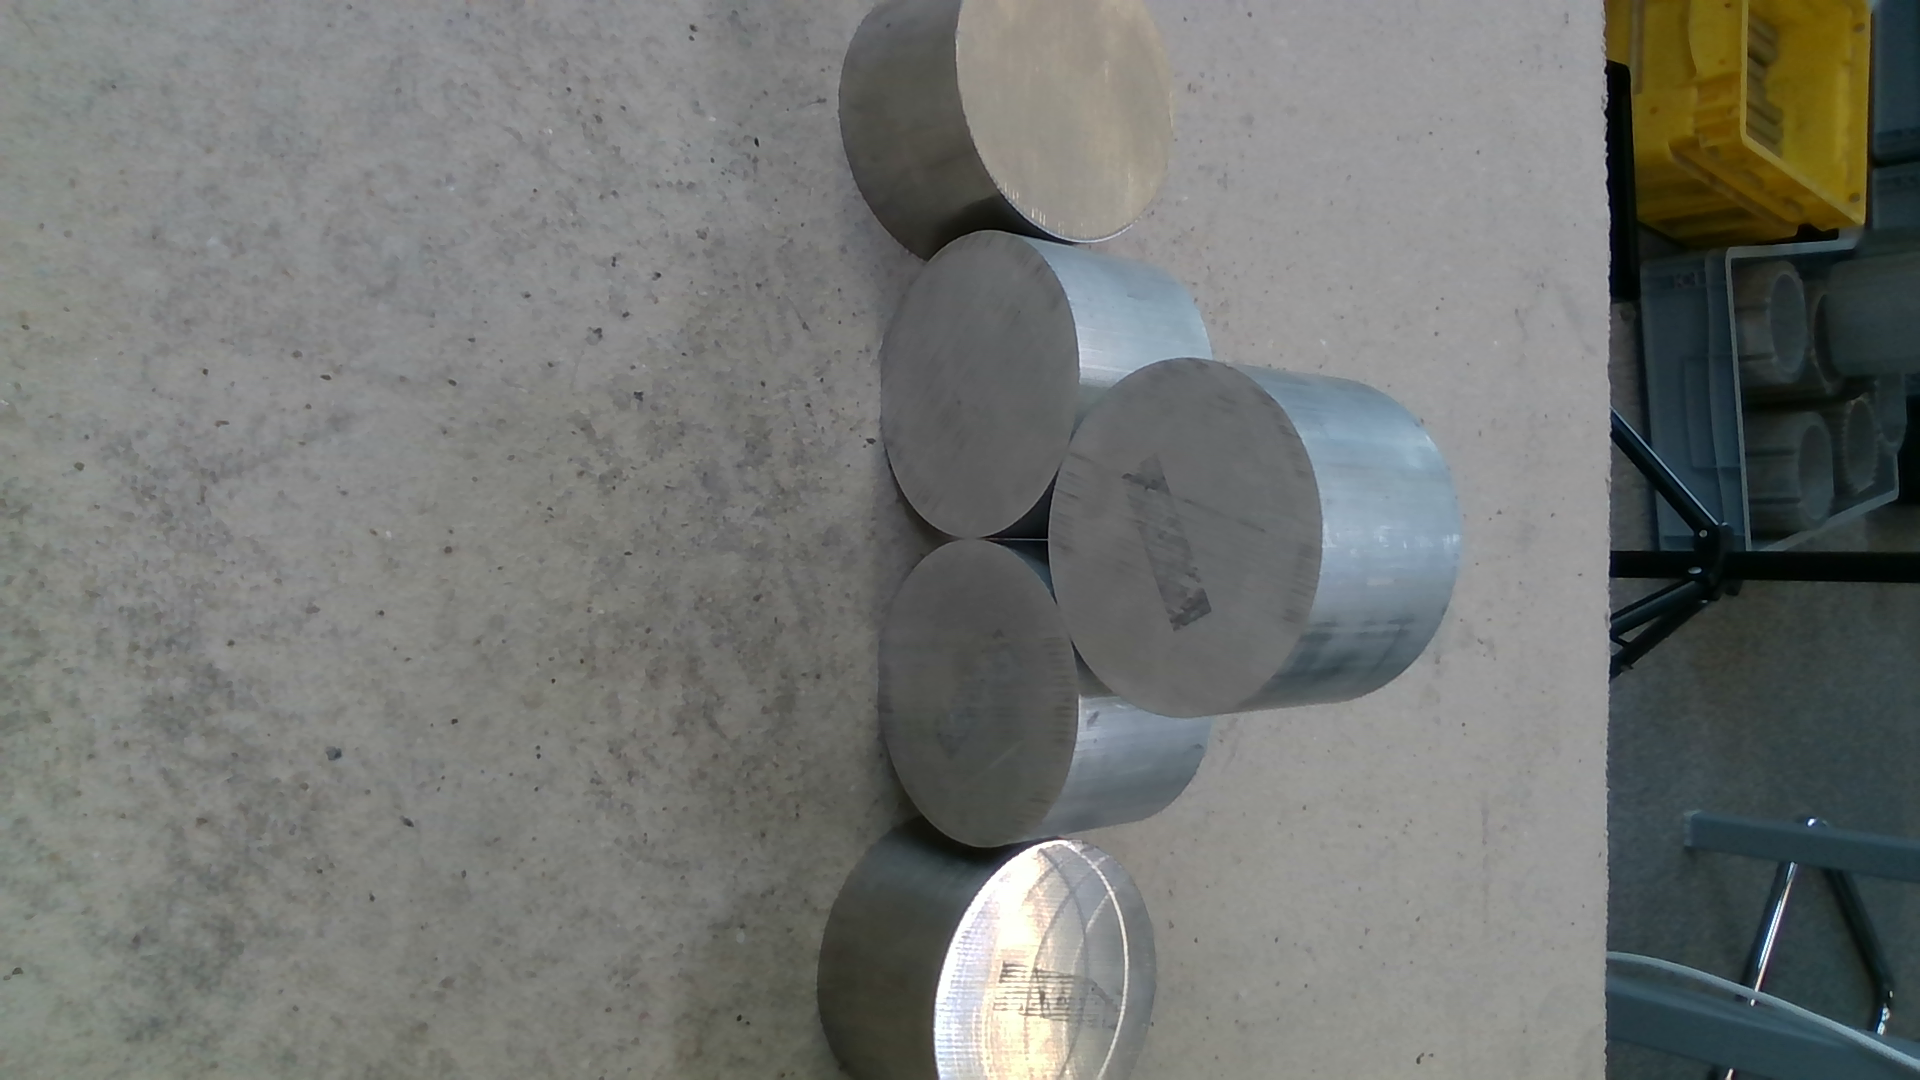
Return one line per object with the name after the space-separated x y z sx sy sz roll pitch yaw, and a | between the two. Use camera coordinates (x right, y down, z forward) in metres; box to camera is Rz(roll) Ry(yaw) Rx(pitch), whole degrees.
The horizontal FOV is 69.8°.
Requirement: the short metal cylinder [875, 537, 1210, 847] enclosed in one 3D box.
0.021 0.039 0.374 0.050 0.080 0.080 0 90 -41 | short metal cylinder

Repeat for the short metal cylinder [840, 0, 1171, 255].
0.014 -0.121 0.386 0.080 0.050 0.080 0 91 -40 | short metal cylinder

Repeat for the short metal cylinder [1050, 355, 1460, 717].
0.067 -0.001 0.321 0.050 0.080 0.080 1 90 -39 | short metal cylinder

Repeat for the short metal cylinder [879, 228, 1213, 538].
0.022 -0.040 0.374 0.050 0.080 0.080 0 90 -40 | short metal cylinder

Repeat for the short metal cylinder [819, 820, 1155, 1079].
0.008 0.119 0.382 0.080 0.050 0.080 0 91 -40 | short metal cylinder
